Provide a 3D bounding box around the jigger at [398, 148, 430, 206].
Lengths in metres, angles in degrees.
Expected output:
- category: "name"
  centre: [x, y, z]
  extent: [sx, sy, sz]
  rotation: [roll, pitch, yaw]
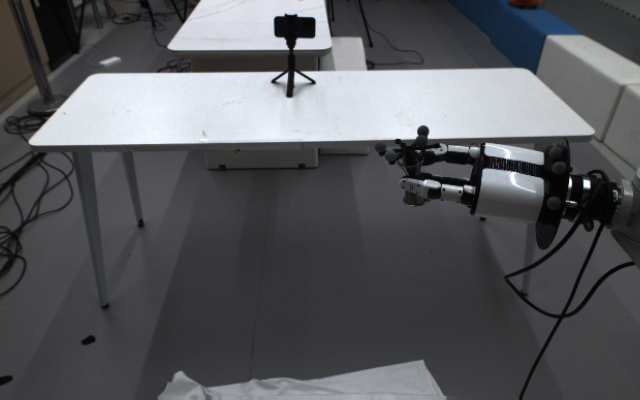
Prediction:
- category: "jigger"
  centre: [0.142, -0.031, 0.729]
  extent: [0.043, 0.071, 0.043]
  rotation: [-12, 29, 7]
